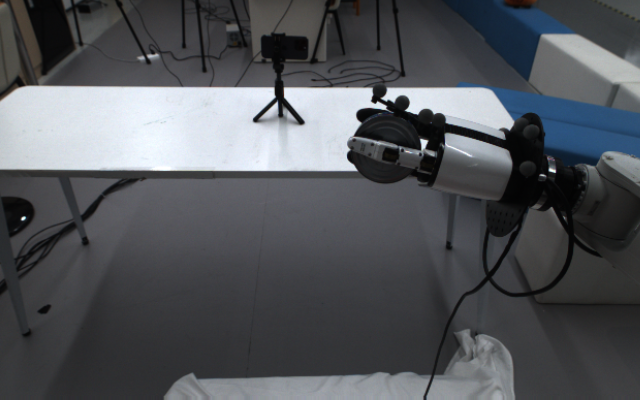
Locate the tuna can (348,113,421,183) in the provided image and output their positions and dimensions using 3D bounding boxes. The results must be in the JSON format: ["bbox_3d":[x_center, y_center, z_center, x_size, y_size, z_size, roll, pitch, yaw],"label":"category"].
[{"bbox_3d":[0.084,-0.066,0.607,0.085,0.085,0.034,7,17,7],"label":"tuna can"}]
